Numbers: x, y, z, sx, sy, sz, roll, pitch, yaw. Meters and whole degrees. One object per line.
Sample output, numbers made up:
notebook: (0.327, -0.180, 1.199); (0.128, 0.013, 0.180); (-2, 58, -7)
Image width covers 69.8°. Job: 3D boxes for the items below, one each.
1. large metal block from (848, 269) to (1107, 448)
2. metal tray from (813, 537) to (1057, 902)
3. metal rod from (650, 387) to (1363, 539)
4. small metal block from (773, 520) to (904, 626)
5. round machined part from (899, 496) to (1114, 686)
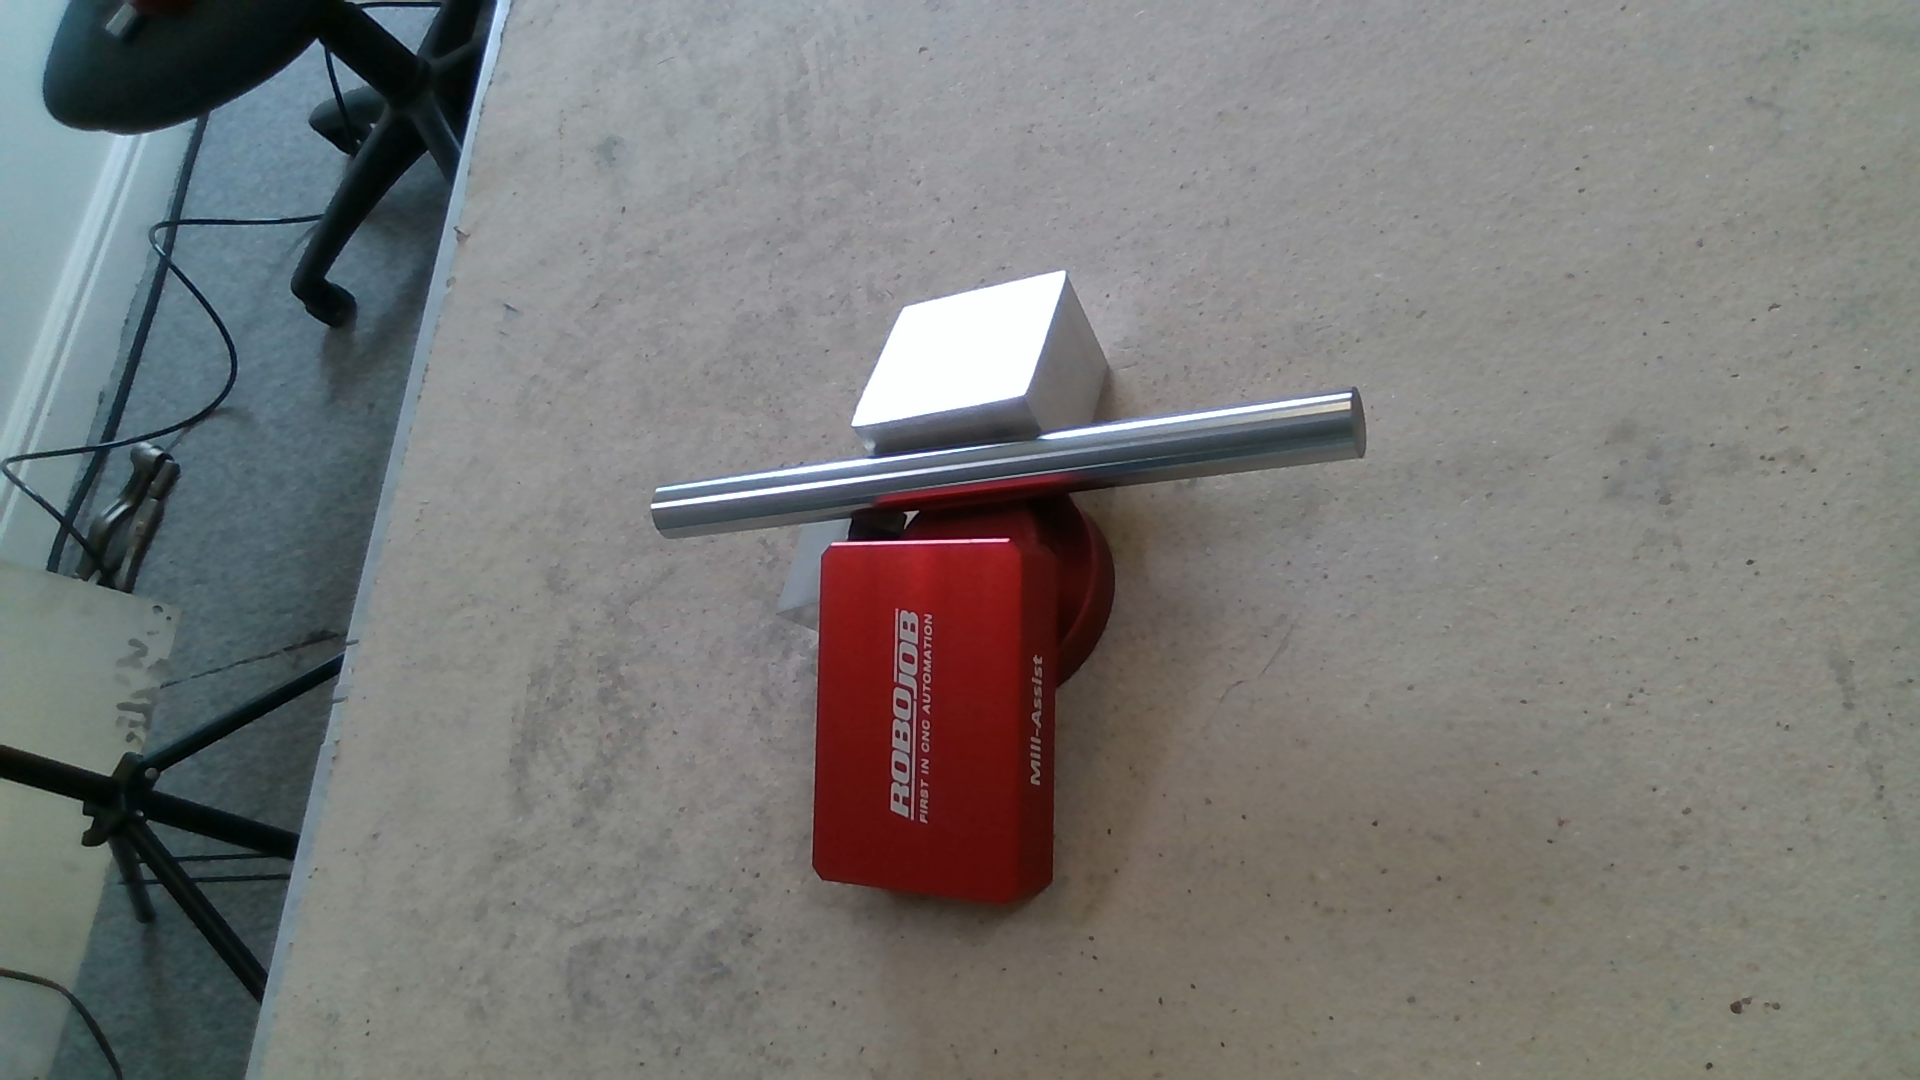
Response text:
large metal block: (0.010, -0.063, 0.583); (0.080, 0.050, 0.080); (-8, 44, 28)
metal tray: (-0.010, 0.066, 0.526); (0.090, 0.030, 0.130); (-1, 85, 32)
metal rod: (0.004, -0.027, 0.544); (0.300, 0.025, 0.025); (-6, 63, 27)
small metal block: (-0.053, 0.010, 0.600); (0.050, 0.025, 0.050); (-16, 53, 54)
round machined part: (0.009, 0.017, 0.560); (0.098, 0.042, 0.098); (-14, 59, 25)
